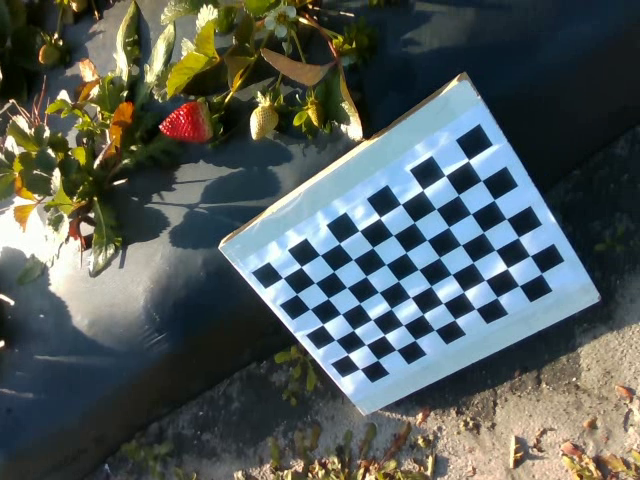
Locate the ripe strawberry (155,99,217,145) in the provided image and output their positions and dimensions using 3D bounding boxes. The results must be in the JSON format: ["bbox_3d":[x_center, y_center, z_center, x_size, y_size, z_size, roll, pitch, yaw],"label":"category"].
[{"bbox_3d":[-0.119,-0.103,0.470,0.054,0.044,0.036,-10,25,0],"label":"ripe strawberry"}]
